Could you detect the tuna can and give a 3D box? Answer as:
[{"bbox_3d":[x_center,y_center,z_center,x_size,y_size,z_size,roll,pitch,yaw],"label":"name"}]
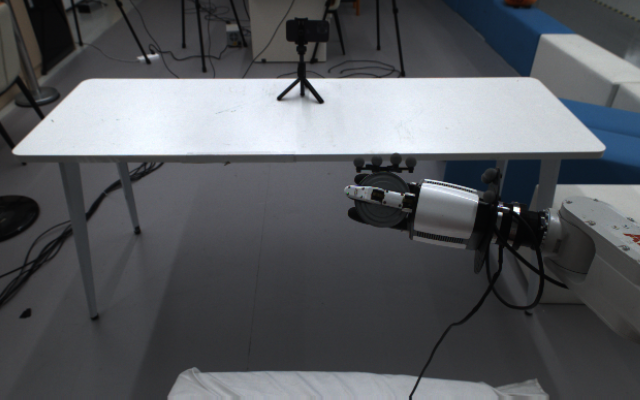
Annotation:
[{"bbox_3d":[0.098,-0.001,0.739,0.085,0.085,0.034,13,-3,16],"label":"tuna can"}]
